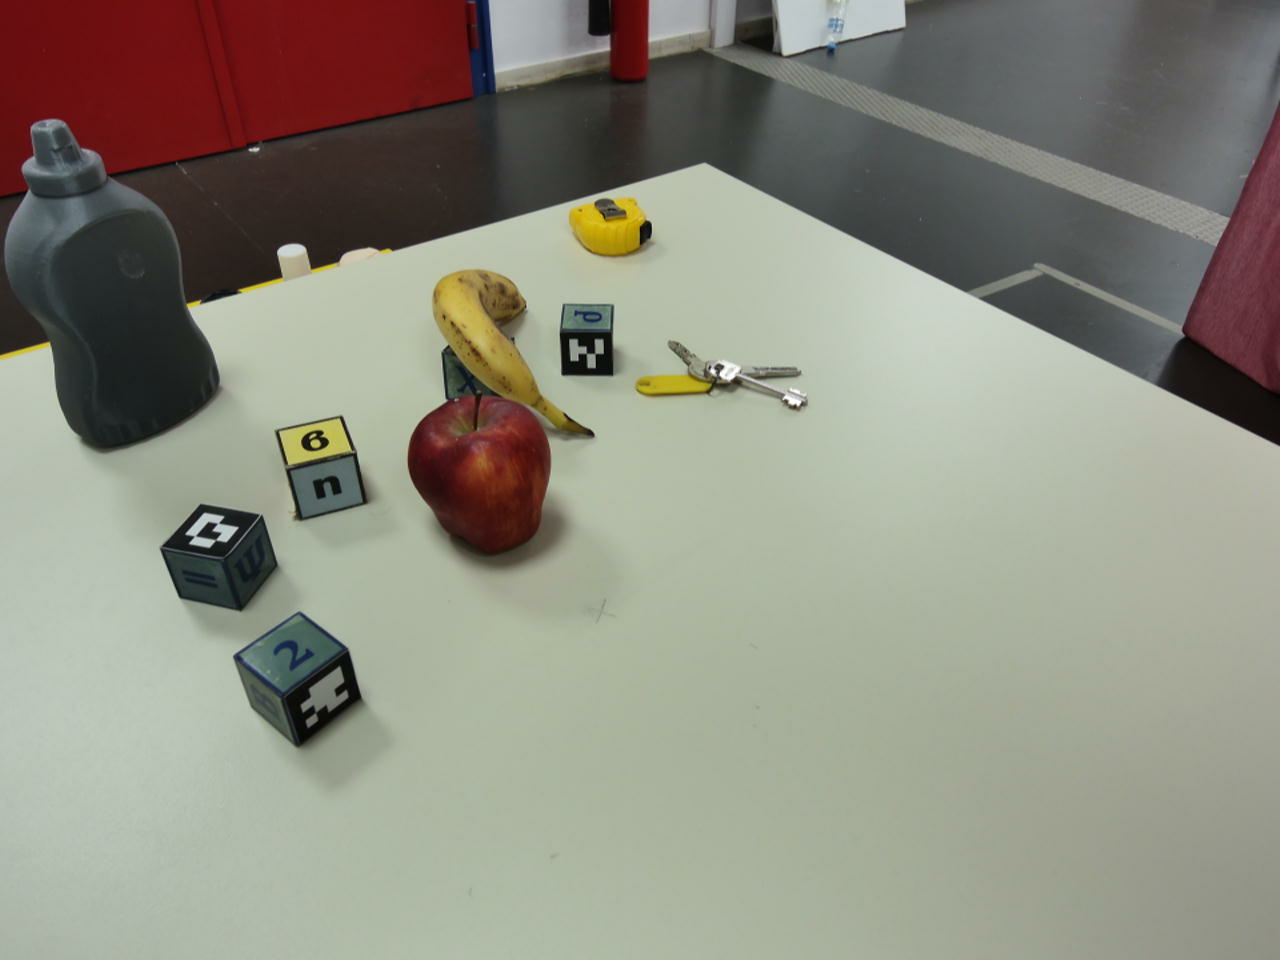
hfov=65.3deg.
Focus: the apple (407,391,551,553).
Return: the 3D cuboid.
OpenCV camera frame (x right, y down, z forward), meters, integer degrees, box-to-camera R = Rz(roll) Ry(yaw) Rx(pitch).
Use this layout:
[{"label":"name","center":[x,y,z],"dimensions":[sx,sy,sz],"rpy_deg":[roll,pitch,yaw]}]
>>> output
[{"label":"apple","center":[-0.089,-0.008,0.554],"dimensions":[0.083,0.090,0.083],"rpy_deg":[0,38,0]}]
